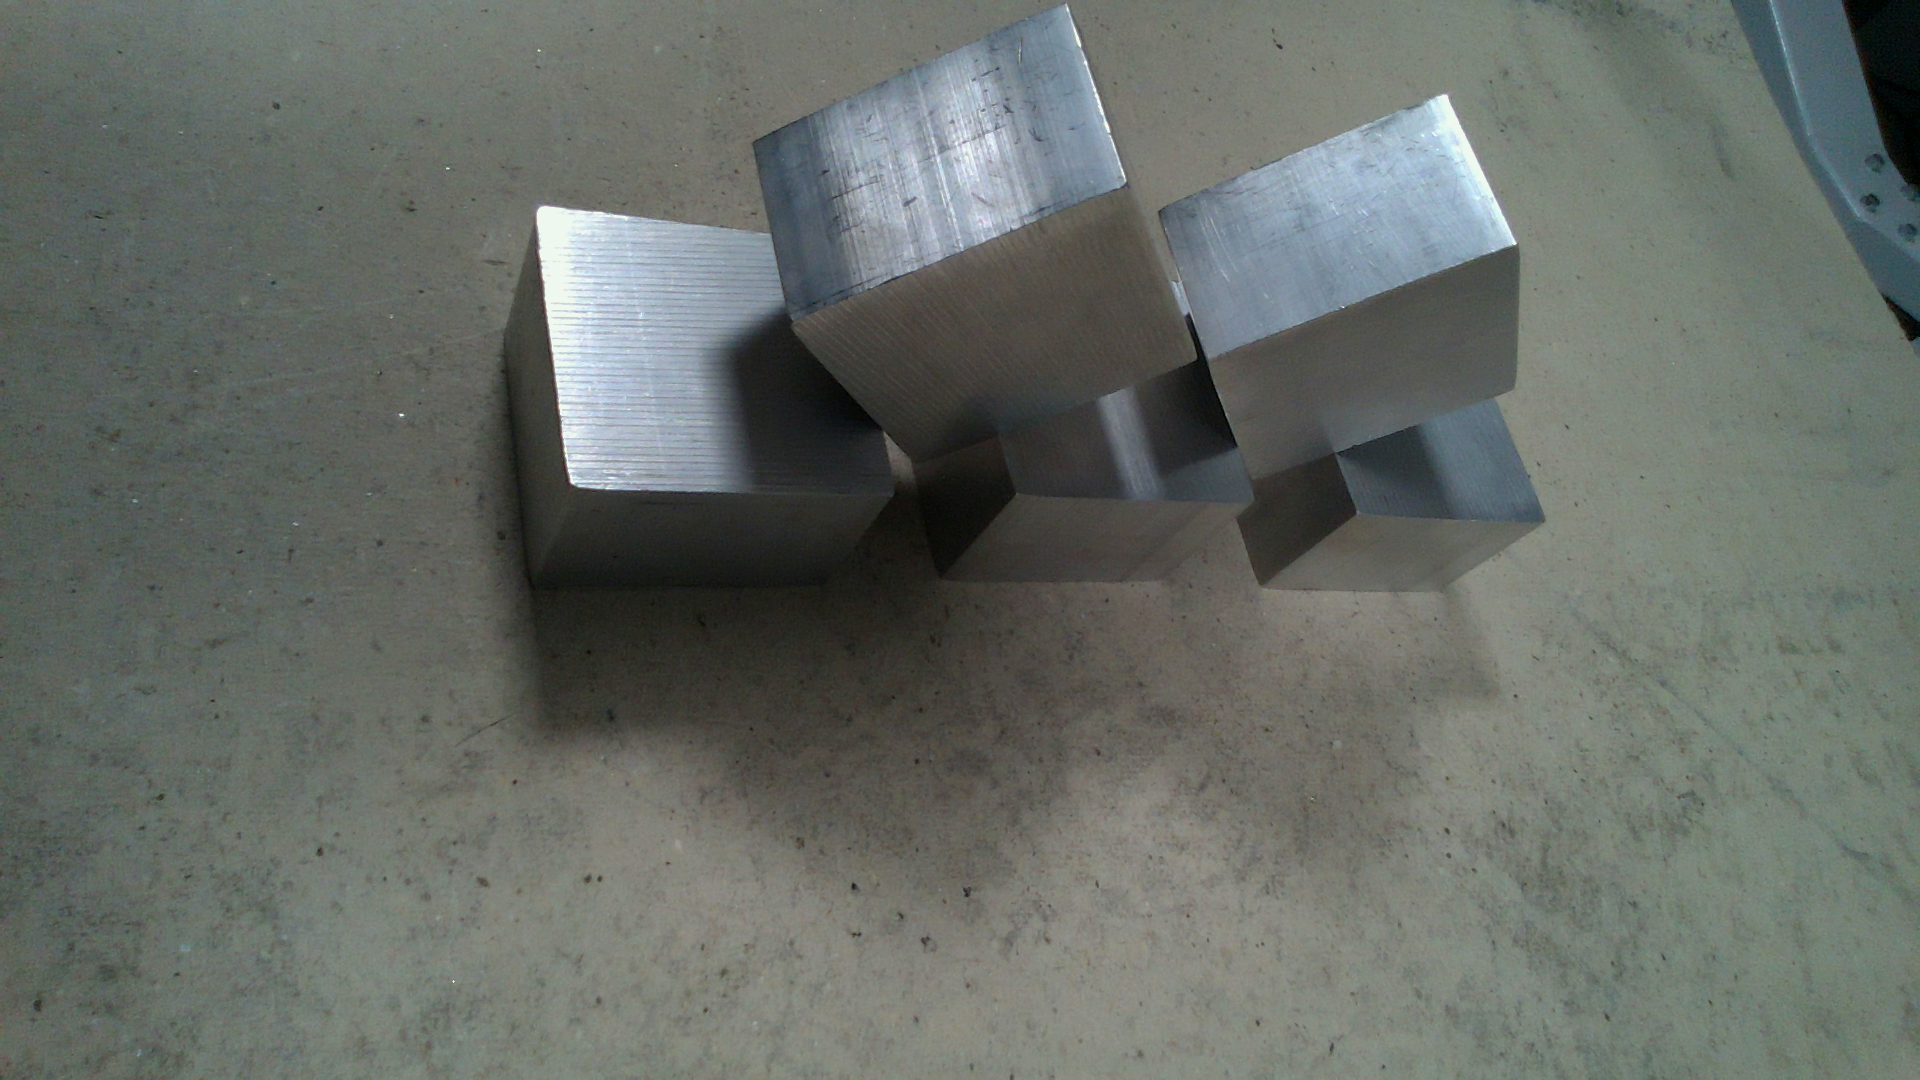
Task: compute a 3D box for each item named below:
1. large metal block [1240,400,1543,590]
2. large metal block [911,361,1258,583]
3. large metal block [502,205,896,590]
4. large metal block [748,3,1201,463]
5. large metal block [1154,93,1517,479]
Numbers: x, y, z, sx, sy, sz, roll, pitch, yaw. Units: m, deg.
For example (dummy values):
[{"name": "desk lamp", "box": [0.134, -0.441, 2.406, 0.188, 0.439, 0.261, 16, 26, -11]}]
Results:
[{"name": "large metal block", "box": [0.136, -0.030, 0.465, 0.080, 0.050, 0.080, 1, 61, -27]}, {"name": "large metal block", "box": [0.031, -0.034, 0.412, 0.080, 0.050, 0.080, 1, 61, -28]}, {"name": "large metal block", "box": [-0.070, -0.035, 0.358, 0.080, 0.050, 0.080, 0, 61, -28]}, {"name": "large metal block", "box": [0.006, -0.069, 0.336, 0.080, 0.080, 0.050, 45, 28, -62]}, {"name": "large metal block", "box": [0.109, -0.068, 0.393, 0.080, 0.080, 0.050, -20, 63, 12]}]
